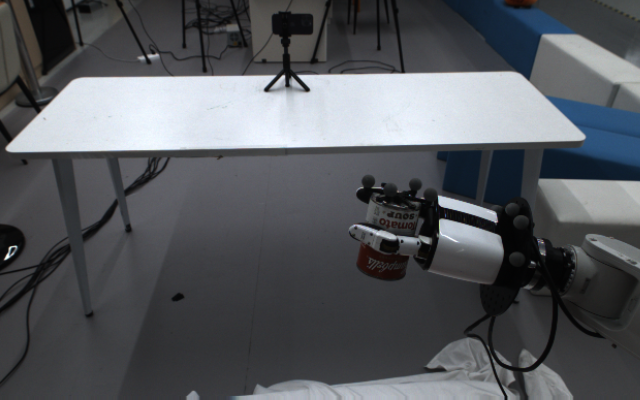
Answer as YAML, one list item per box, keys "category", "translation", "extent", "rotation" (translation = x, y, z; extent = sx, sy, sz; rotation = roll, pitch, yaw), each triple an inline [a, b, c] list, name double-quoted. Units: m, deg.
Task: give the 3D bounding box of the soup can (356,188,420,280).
- category: "soup can"
  translation: [0.092, 0.045, 0.638]
  extent: [0.067, 0.101, 0.067]
  rotation: [8, 19, -3]
